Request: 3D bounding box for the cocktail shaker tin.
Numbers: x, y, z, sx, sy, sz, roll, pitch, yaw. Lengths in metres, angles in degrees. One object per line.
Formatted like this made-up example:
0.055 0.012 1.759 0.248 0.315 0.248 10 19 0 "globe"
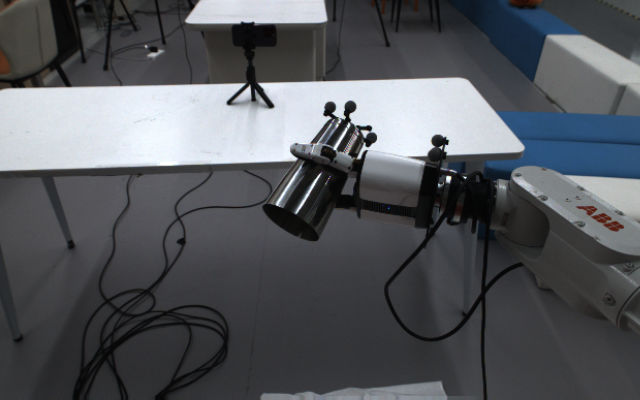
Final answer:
0.000 -0.038 0.708 0.093 0.093 0.170 20 67 24 "cocktail shaker tin"
